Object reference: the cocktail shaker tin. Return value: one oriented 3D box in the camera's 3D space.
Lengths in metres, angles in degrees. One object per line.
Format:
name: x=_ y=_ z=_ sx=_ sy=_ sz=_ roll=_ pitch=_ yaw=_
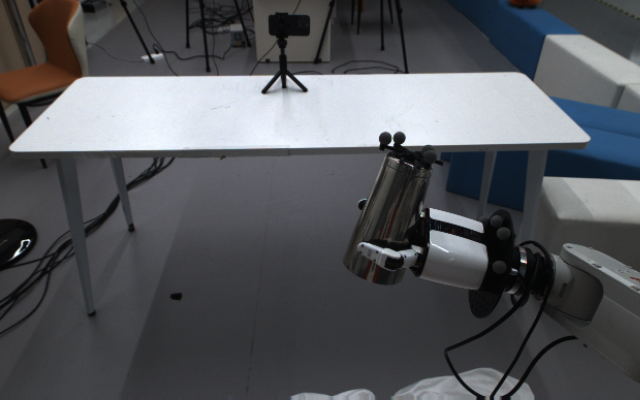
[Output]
cocktail shaker tin: x=0.100 y=0.022 z=0.684 sx=0.093 sy=0.170 sz=0.093 roll=14 pitch=20 yaw=-5
